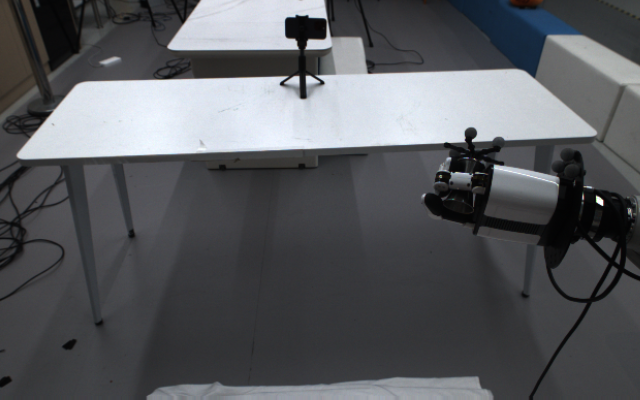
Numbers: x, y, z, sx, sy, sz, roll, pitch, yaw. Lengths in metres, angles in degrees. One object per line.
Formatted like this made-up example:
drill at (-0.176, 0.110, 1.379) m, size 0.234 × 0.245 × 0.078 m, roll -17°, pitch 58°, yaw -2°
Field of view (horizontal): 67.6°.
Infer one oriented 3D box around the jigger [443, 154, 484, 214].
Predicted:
jigger at (0.203, -0.023, 0.678) m, size 0.043 × 0.043 × 0.071 m, roll 16°, pitch 70°, yaw 19°
